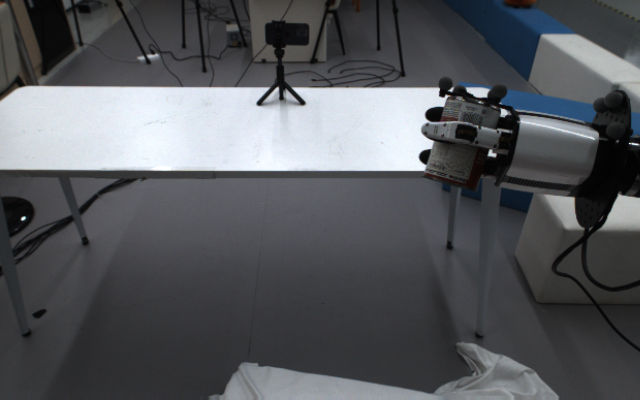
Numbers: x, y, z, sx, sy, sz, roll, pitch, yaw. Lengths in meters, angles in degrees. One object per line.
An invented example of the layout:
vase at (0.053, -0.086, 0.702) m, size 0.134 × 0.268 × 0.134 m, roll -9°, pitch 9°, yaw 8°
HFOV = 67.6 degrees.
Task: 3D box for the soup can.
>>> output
soup can at (0.174, -0.068, 0.593) m, size 0.067 × 0.101 × 0.067 m, roll 15°, pitch 7°, yaw -2°
